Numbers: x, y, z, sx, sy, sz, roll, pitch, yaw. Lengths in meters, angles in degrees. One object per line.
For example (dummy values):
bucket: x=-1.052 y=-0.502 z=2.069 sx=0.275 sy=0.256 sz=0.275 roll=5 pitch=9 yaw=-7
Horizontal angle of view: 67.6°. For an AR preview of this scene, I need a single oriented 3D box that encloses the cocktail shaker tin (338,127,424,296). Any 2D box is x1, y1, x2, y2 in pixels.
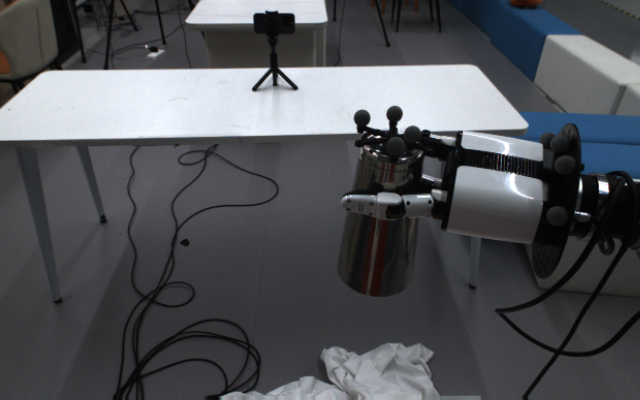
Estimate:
cocktail shaker tin: x=0.075 y=0.012 z=0.550 sx=0.093 sy=0.170 sz=0.093 roll=2 pitch=33 yaw=-1
